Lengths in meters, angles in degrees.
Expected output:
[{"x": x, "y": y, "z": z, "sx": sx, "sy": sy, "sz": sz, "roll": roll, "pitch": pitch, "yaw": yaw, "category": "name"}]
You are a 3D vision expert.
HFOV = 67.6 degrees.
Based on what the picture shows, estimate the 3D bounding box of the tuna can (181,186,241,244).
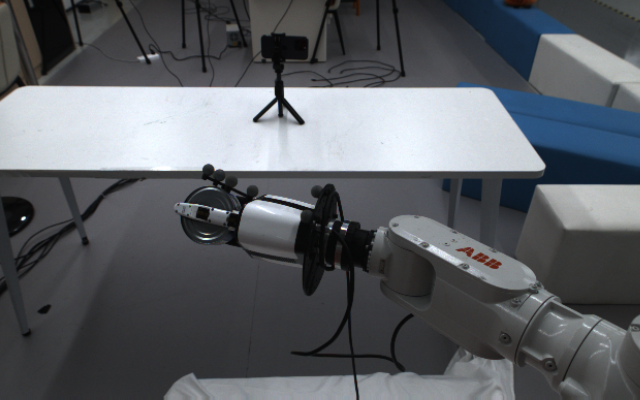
[{"x": -0.156, "y": 0.024, "z": 0.707, "sx": 0.085, "sy": 0.085, "sz": 0.034, "roll": 13, "pitch": -6, "yaw": 16, "category": "tuna can"}]
